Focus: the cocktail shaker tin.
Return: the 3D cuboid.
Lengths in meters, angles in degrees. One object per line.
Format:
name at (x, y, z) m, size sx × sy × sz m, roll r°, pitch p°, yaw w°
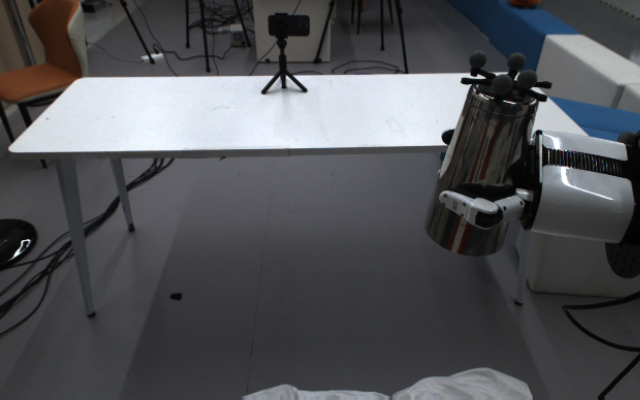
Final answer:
cocktail shaker tin at (0.175, -0.037, 0.517) m, size 0.093 × 0.170 × 0.093 m, roll 3°, pitch 34°, yaw -2°
